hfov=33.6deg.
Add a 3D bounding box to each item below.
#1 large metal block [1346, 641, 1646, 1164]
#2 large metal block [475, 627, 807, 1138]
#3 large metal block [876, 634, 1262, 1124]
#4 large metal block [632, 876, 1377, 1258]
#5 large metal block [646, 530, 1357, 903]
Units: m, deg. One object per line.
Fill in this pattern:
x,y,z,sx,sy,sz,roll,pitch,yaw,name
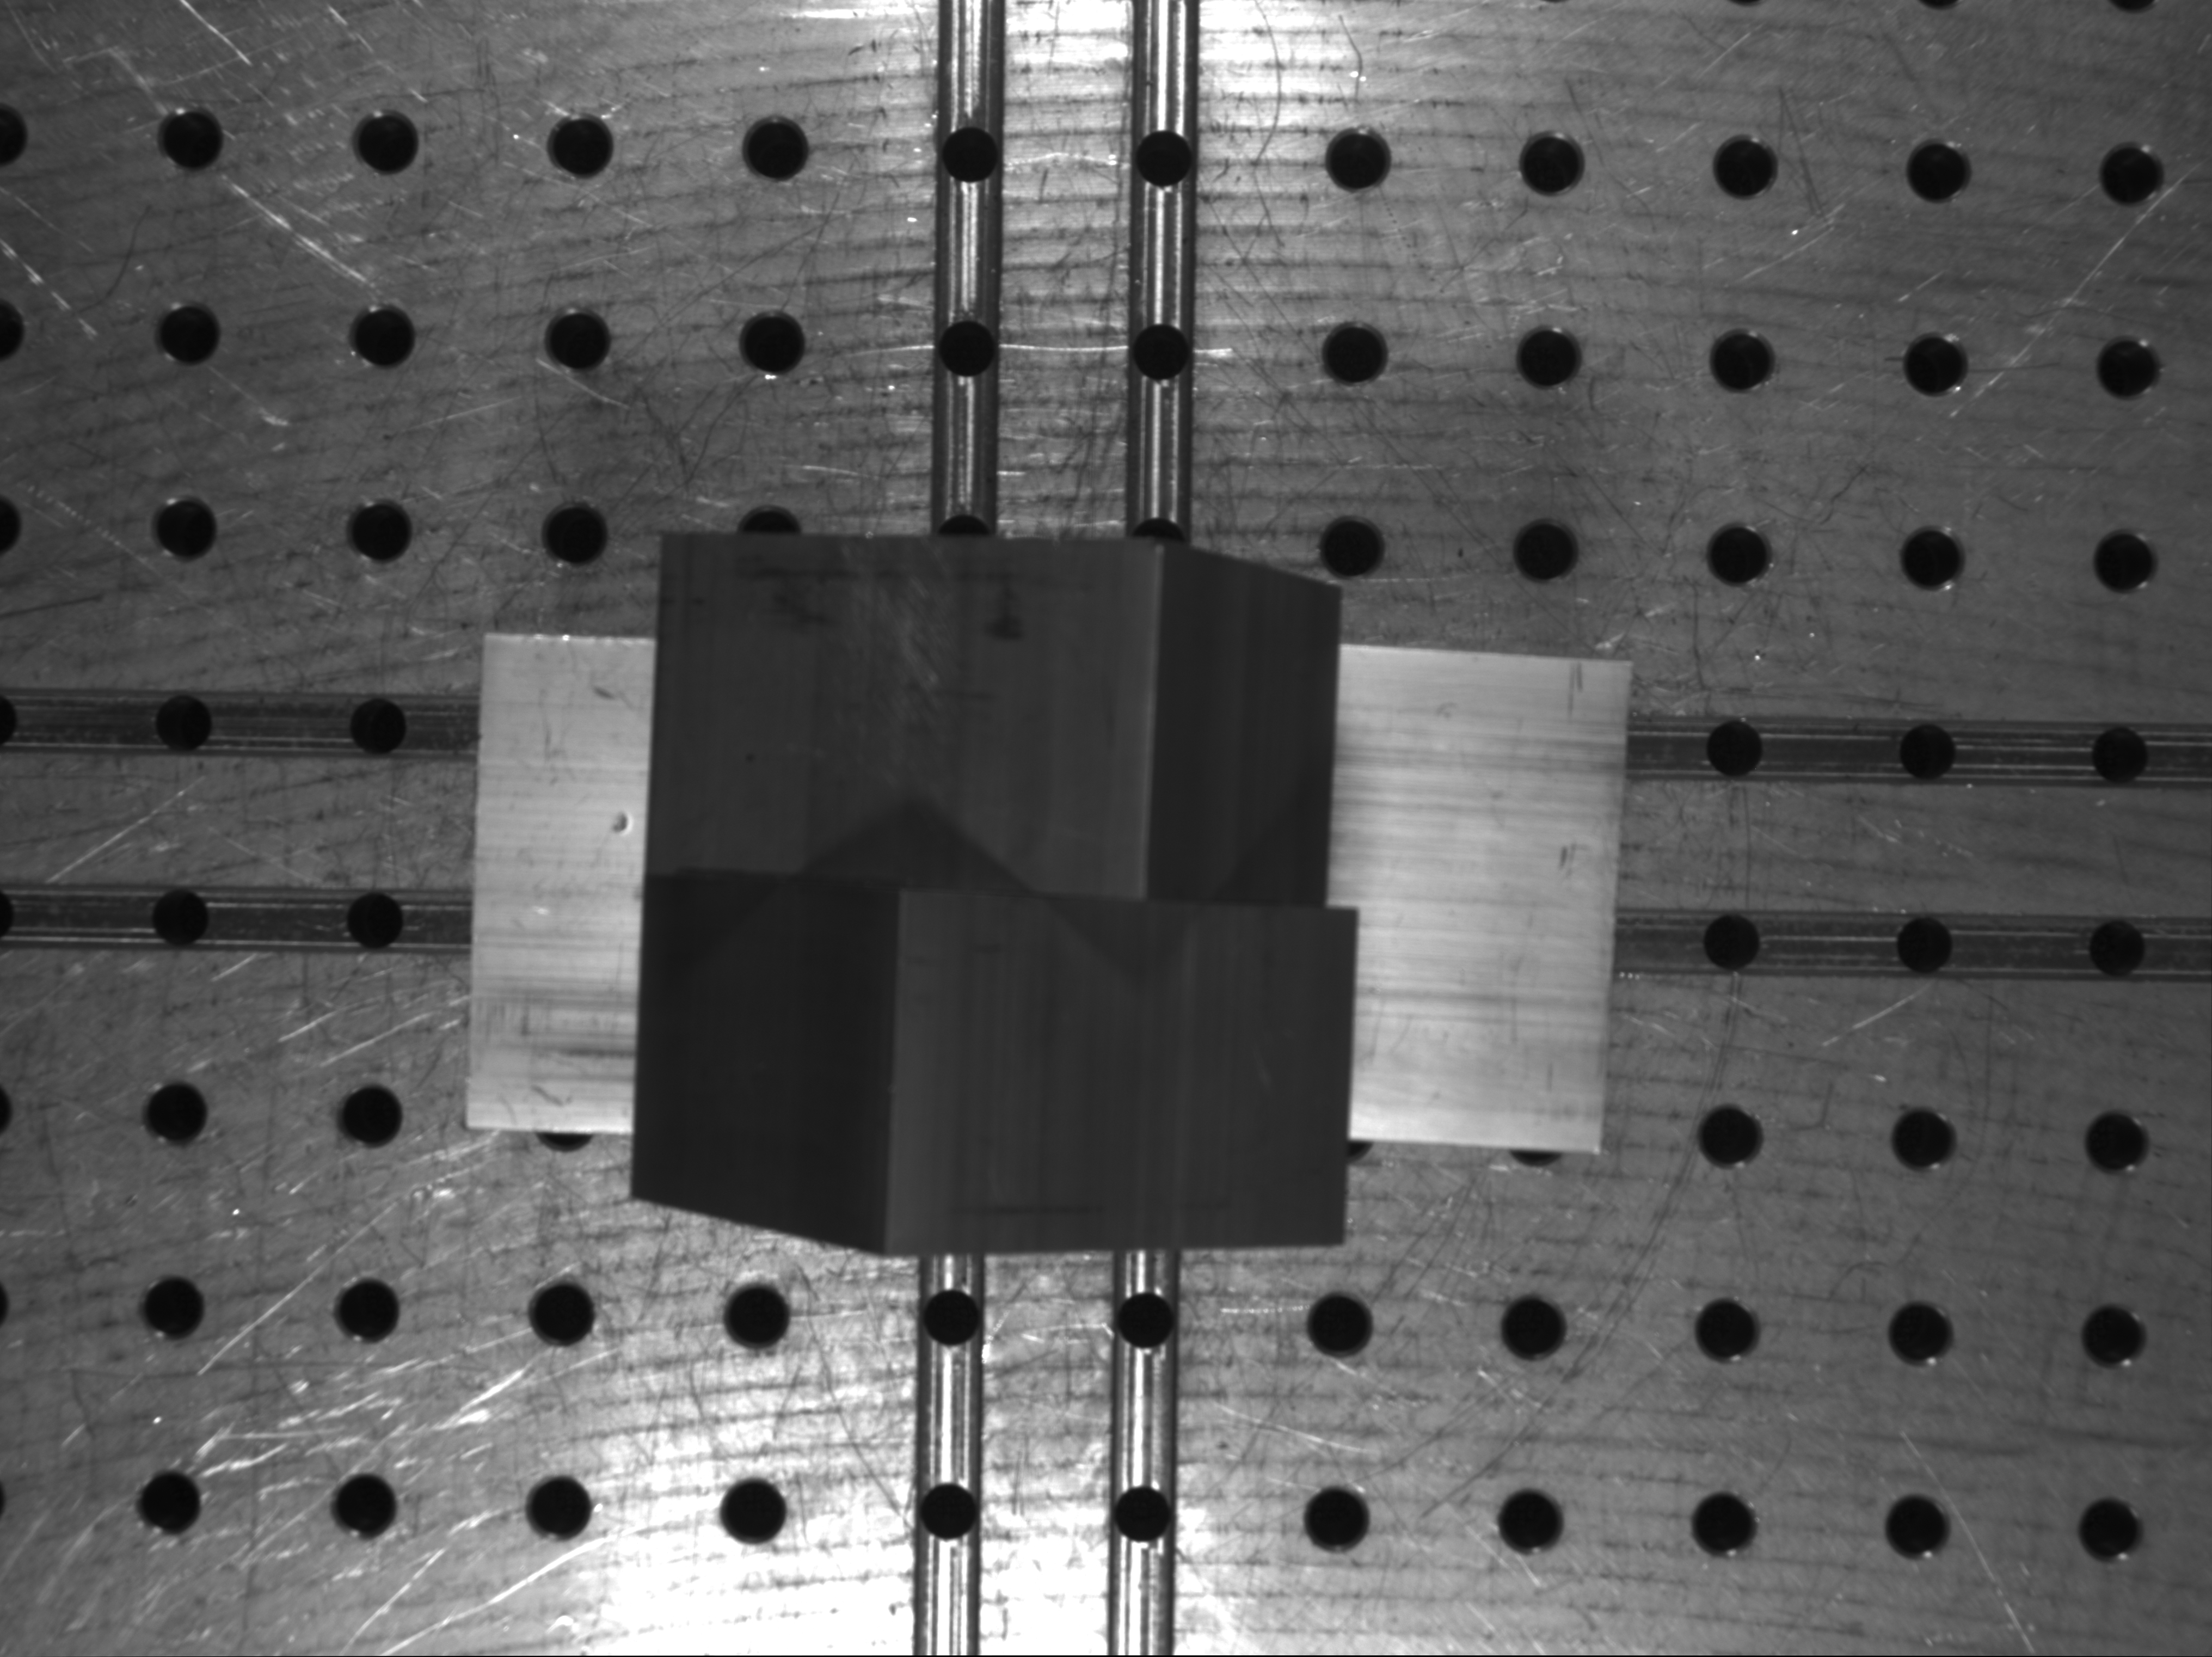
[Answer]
0.058,0.012,0.620,0.050,0.080,0.080,4,90,0,large metal block
-0.074,0.009,0.619,0.050,0.080,0.080,2,90,0,large metal block
-0.007,0.009,0.633,0.080,0.050,0.080,3,90,0,large metal block
-0.016,0.035,0.553,0.080,0.080,0.050,3,89,-33,large metal block
-0.014,-0.016,0.556,0.080,0.080,0.050,3,89,22,large metal block
